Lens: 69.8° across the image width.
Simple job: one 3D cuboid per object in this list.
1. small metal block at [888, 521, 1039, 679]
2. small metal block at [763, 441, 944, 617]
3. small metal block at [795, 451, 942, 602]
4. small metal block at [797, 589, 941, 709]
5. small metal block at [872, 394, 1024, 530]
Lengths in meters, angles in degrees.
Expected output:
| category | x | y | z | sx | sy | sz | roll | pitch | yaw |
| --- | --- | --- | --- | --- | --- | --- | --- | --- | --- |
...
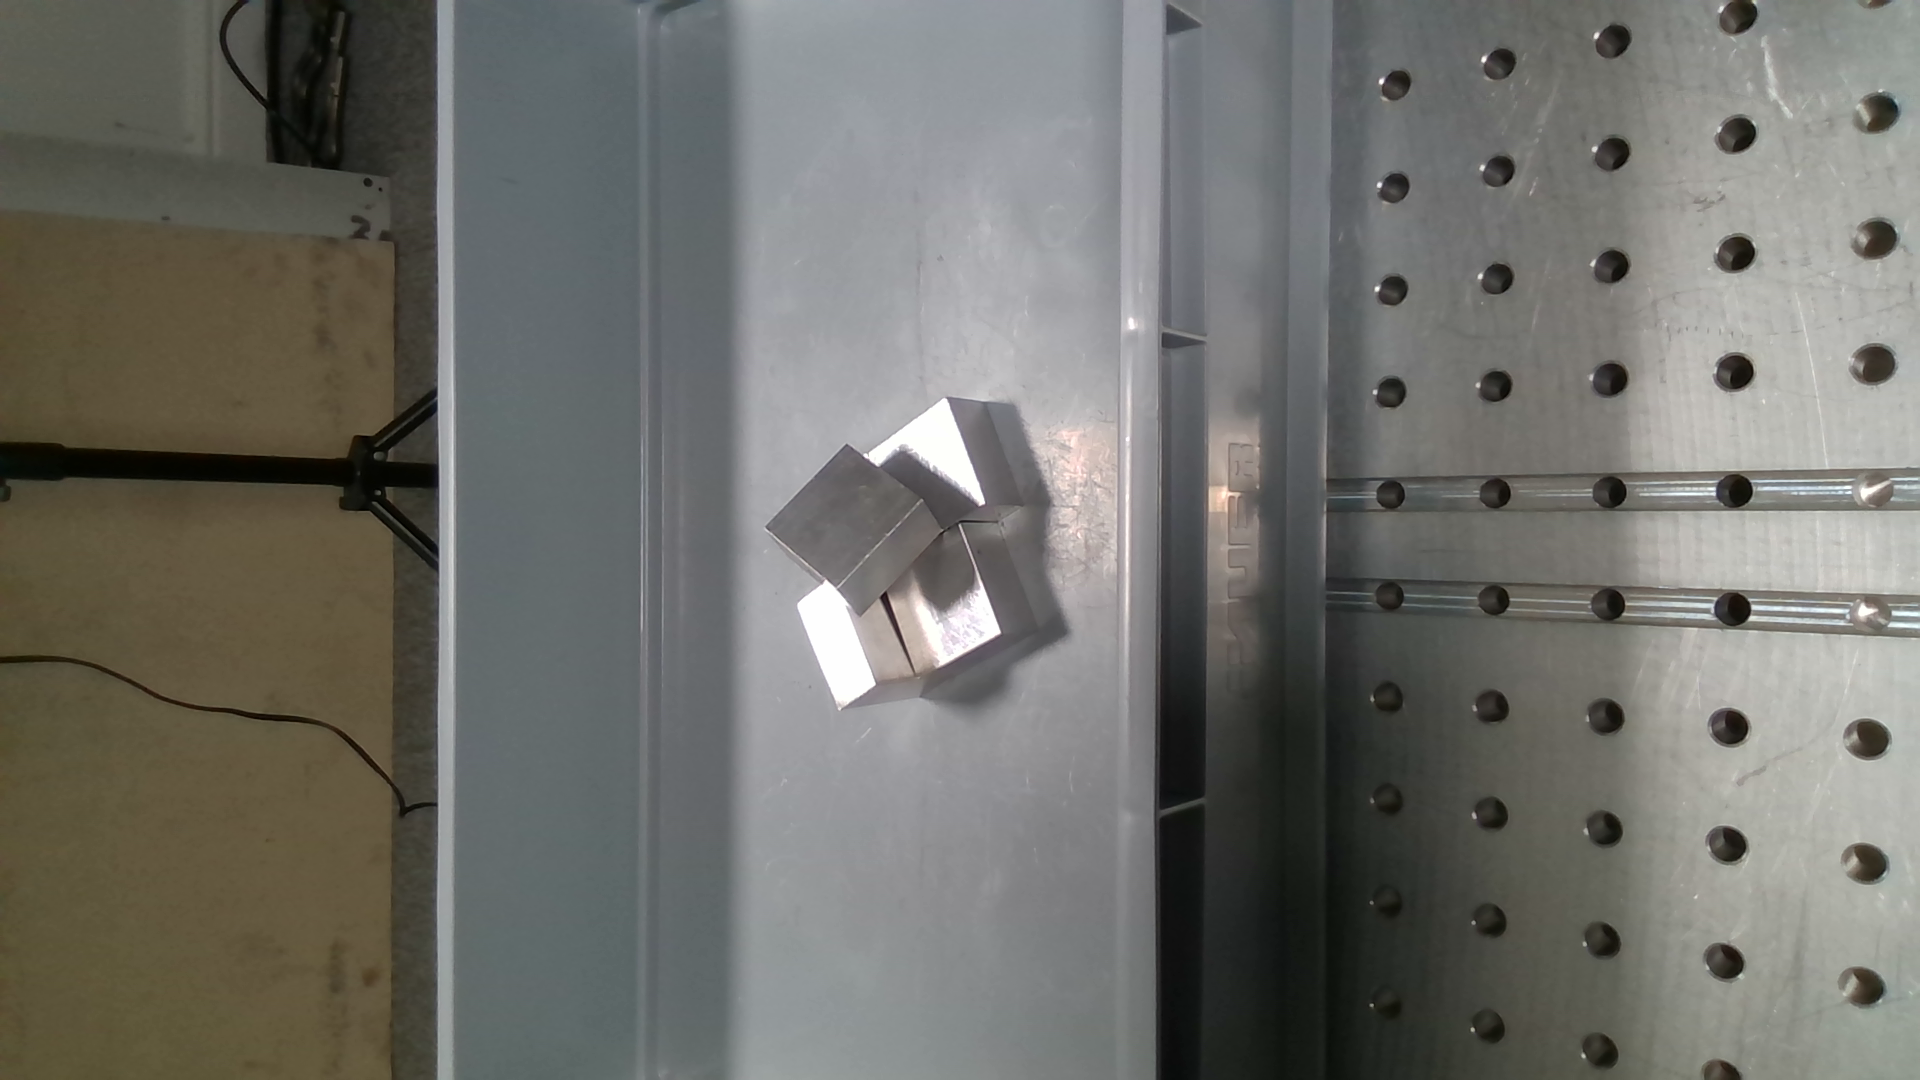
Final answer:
| category | x | y | z | sx | sy | sz | roll | pitch | yaw |
| --- | --- | --- | --- | --- | --- | --- | --- | --- | --- |
| small metal block | -0.001 | 0.025 | 0.582 | 0.050 | 0.025 | 0.050 | -32 | 71 | 36 |
| small metal block | -0.044 | -0.005 | 0.569 | 0.050 | 0.025 | 0.050 | -47 | 56 | -9 |
| small metal block | -0.042 | -0.006 | 0.616 | 0.050 | 0.025 | 0.050 | -32 | 71 | 36 |
| small metal block | -0.036 | 0.042 | 0.595 | 0.025 | 0.050 | 0.050 | -35 | 69 | 35 |
| small metal block | -0.007 | -0.027 | 0.586 | 0.050 | 0.025 | 0.050 | -32 | 71 | 36 |
